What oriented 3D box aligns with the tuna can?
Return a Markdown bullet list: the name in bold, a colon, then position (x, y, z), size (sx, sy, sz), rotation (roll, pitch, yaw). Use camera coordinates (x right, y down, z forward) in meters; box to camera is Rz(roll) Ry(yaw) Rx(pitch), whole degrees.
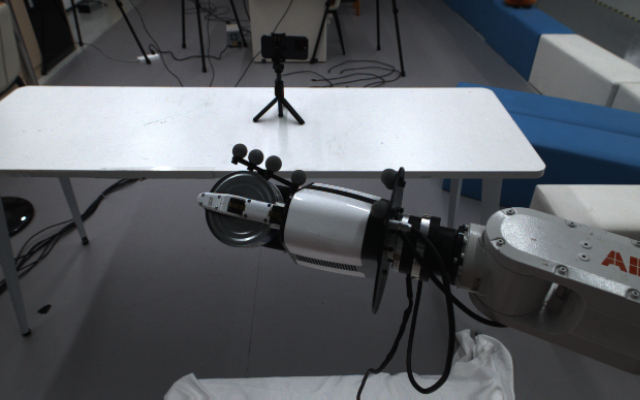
- **tuna can**: position (-0.081, 0.011, 0.549), size (0.085, 0.085, 0.034), rotation (13, -6, 16)
